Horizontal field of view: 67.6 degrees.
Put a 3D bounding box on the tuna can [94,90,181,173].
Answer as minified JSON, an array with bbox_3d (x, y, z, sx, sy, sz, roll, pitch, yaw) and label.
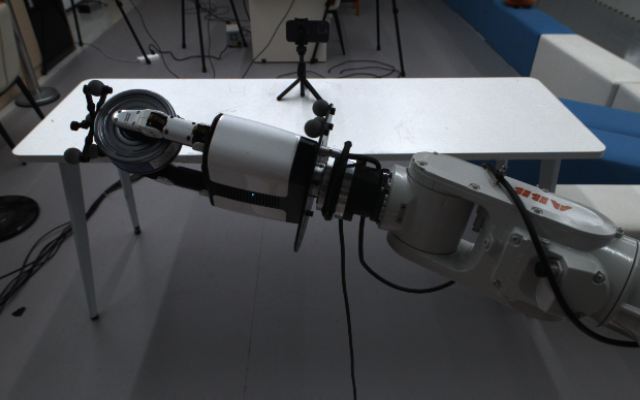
[{"bbox_3d":[-0.189,-0.073,0.513,0.085,0.034,0.085,1,74,-4],"label":"tuna can"}]
